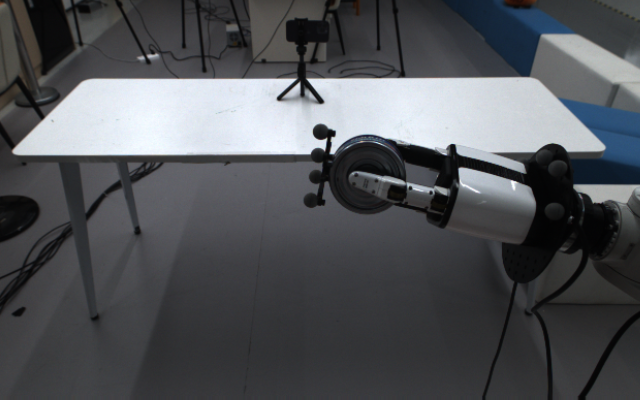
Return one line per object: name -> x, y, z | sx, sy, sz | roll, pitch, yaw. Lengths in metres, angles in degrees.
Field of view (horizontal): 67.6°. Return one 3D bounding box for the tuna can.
tuna can -> 0.056, -0.025, 0.539 | 0.085, 0.085, 0.034 | 4, 18, 3
